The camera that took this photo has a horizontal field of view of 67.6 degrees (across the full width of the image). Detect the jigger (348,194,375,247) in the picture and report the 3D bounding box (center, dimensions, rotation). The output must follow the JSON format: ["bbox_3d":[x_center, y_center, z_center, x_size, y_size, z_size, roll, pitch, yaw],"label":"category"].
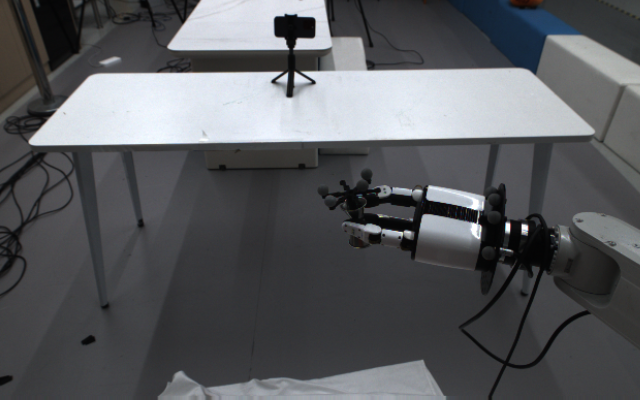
[{"bbox_3d":[0.058,0.033,0.727,0.043,0.071,0.043,-12,29,7],"label":"jigger"}]
